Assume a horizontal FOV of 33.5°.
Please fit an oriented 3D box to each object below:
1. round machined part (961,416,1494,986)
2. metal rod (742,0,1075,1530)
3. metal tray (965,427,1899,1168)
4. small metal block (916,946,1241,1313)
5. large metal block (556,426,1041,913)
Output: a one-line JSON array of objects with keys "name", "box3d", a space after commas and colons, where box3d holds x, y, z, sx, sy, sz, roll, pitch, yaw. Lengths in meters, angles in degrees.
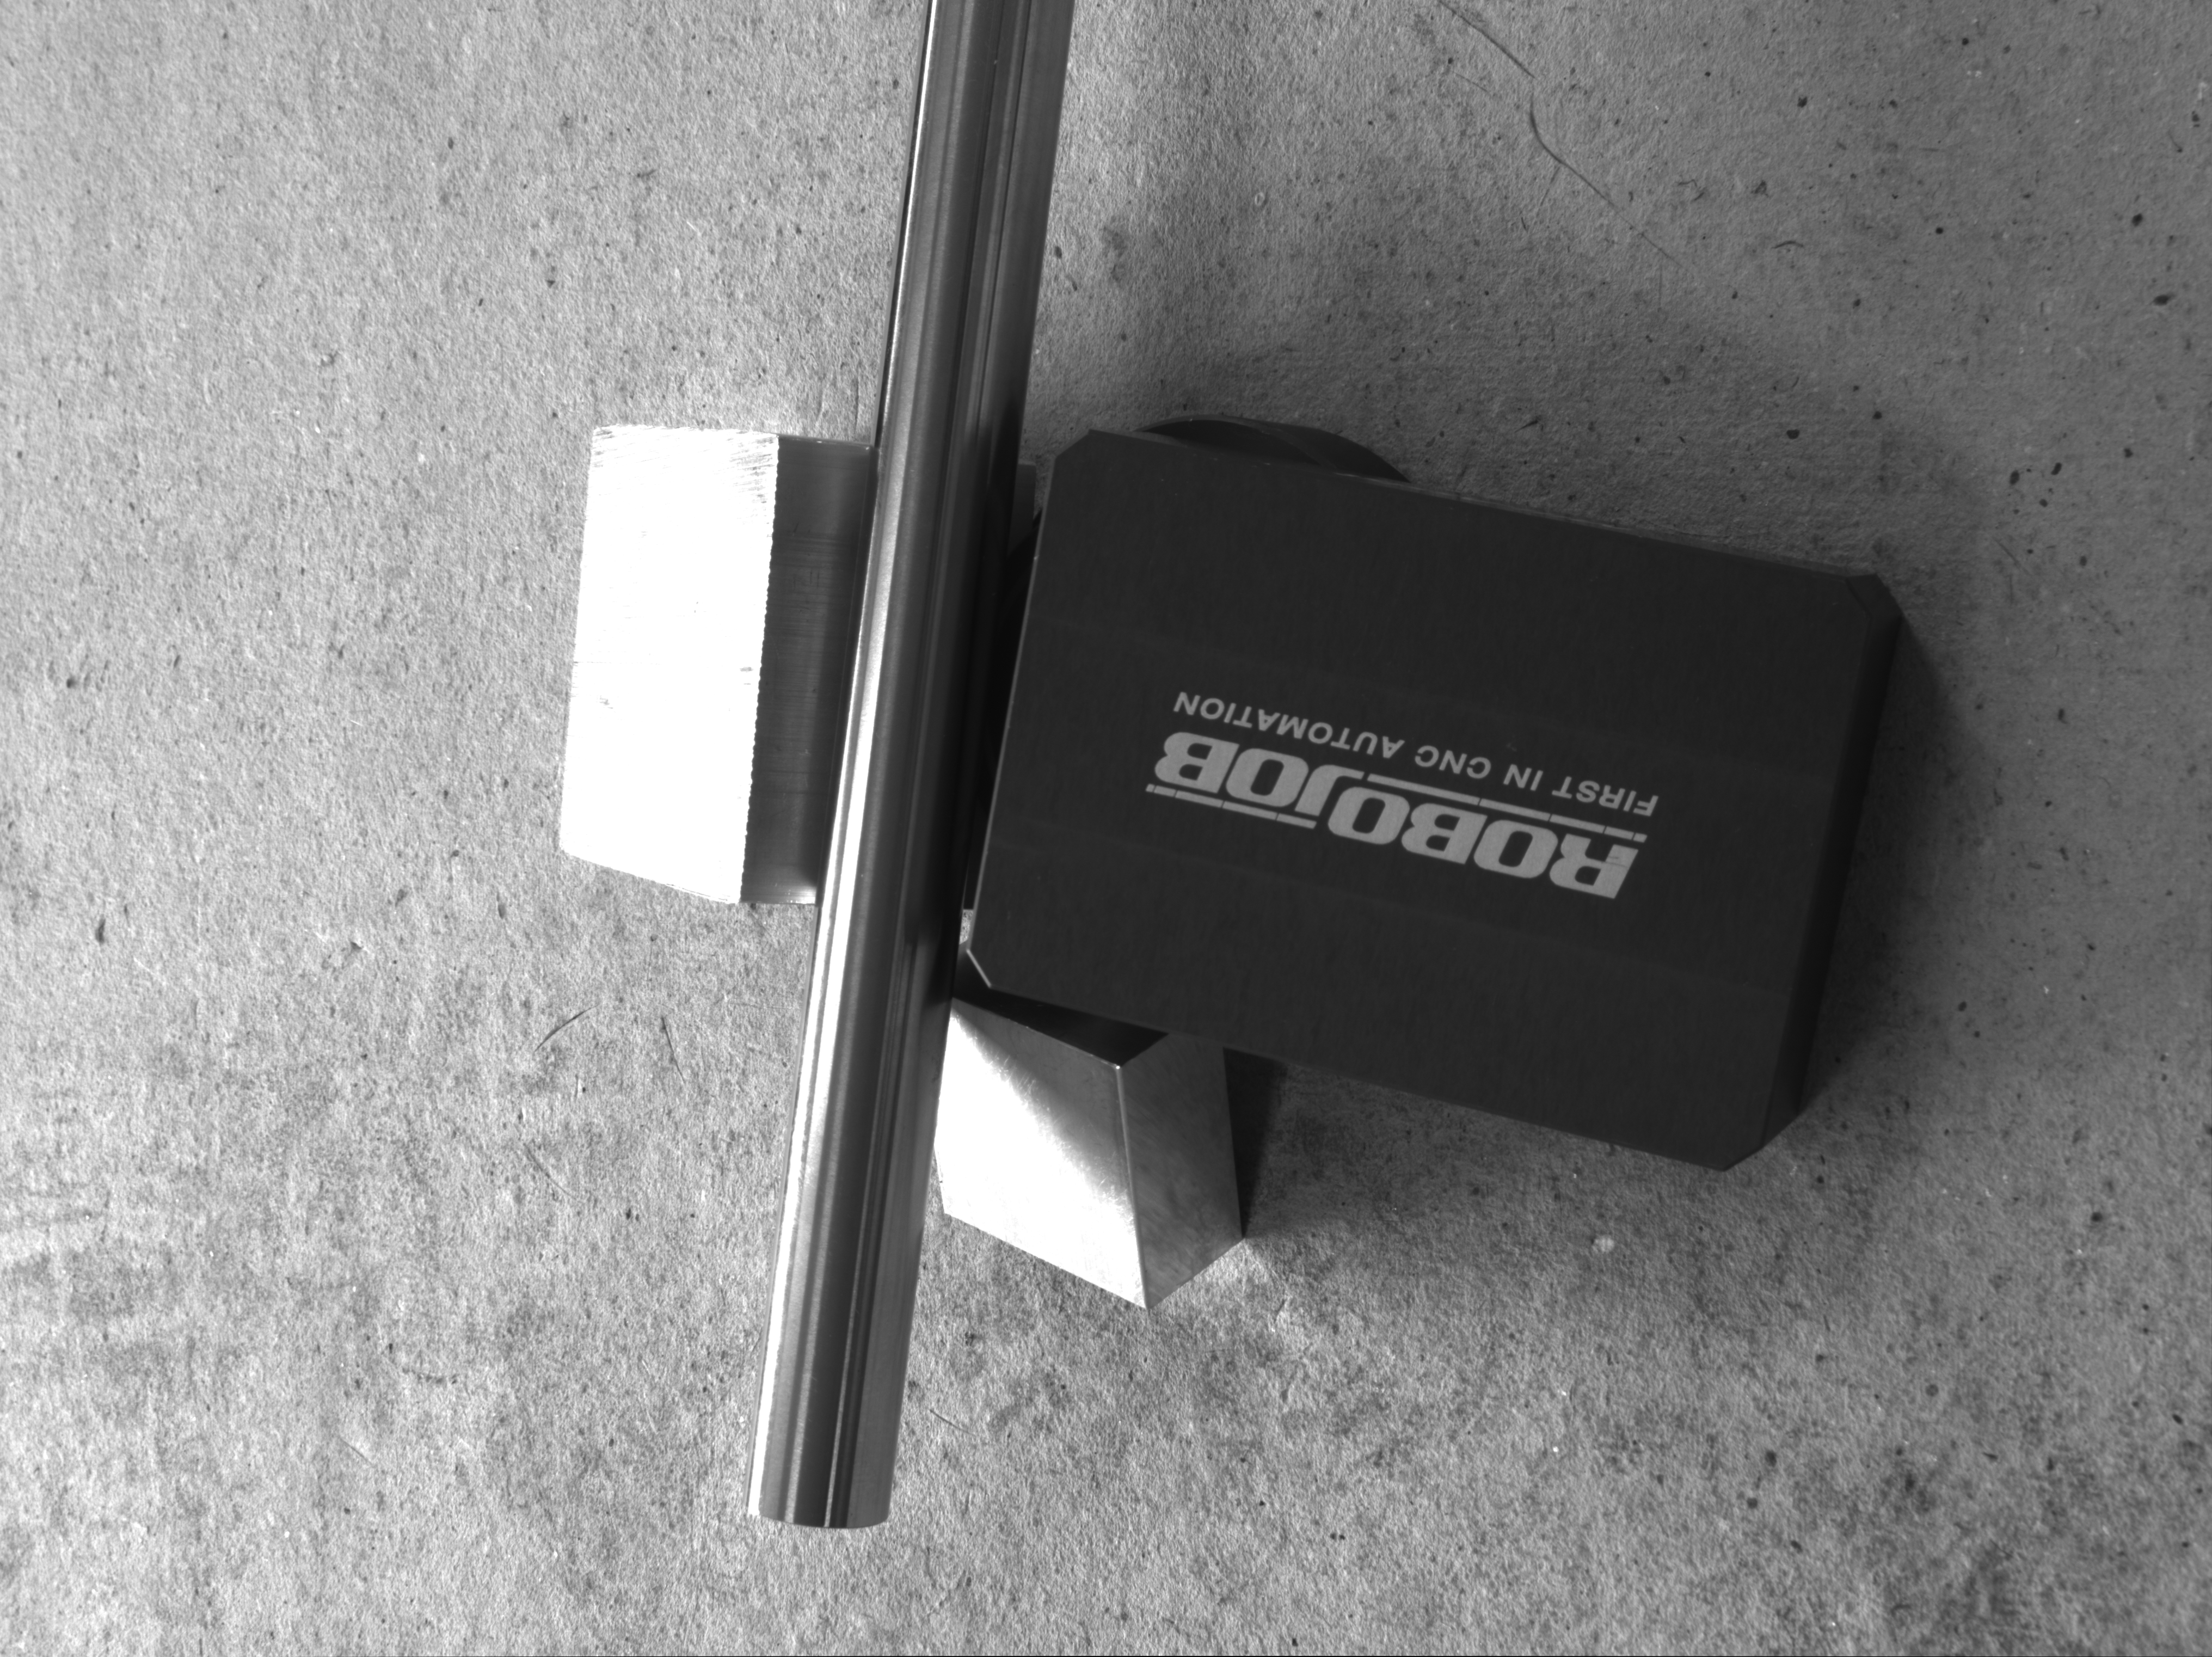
[{"name": "round machined part", "box3d": [0.014, -0.021, 0.623, 0.098, 0.042, 0.098, 0, 90, 40]}, {"name": "metal rod", "box3d": [-0.031, -0.033, 0.617, 0.025, 0.025, 0.300, 10, 94, 40]}, {"name": "metal tray", "box3d": [0.049, -0.007, 0.572, 0.130, 0.030, 0.090, 13, 100, 19]}, {"name": "small metal block", "box3d": [-0.006, 0.049, 0.638, 0.050, 0.025, 0.050, 20, 128, 39]}, {"name": "large metal block", "box3d": [-0.057, -0.029, 0.663, 0.080, 0.050, 0.080, 13, 98, 58]}]
